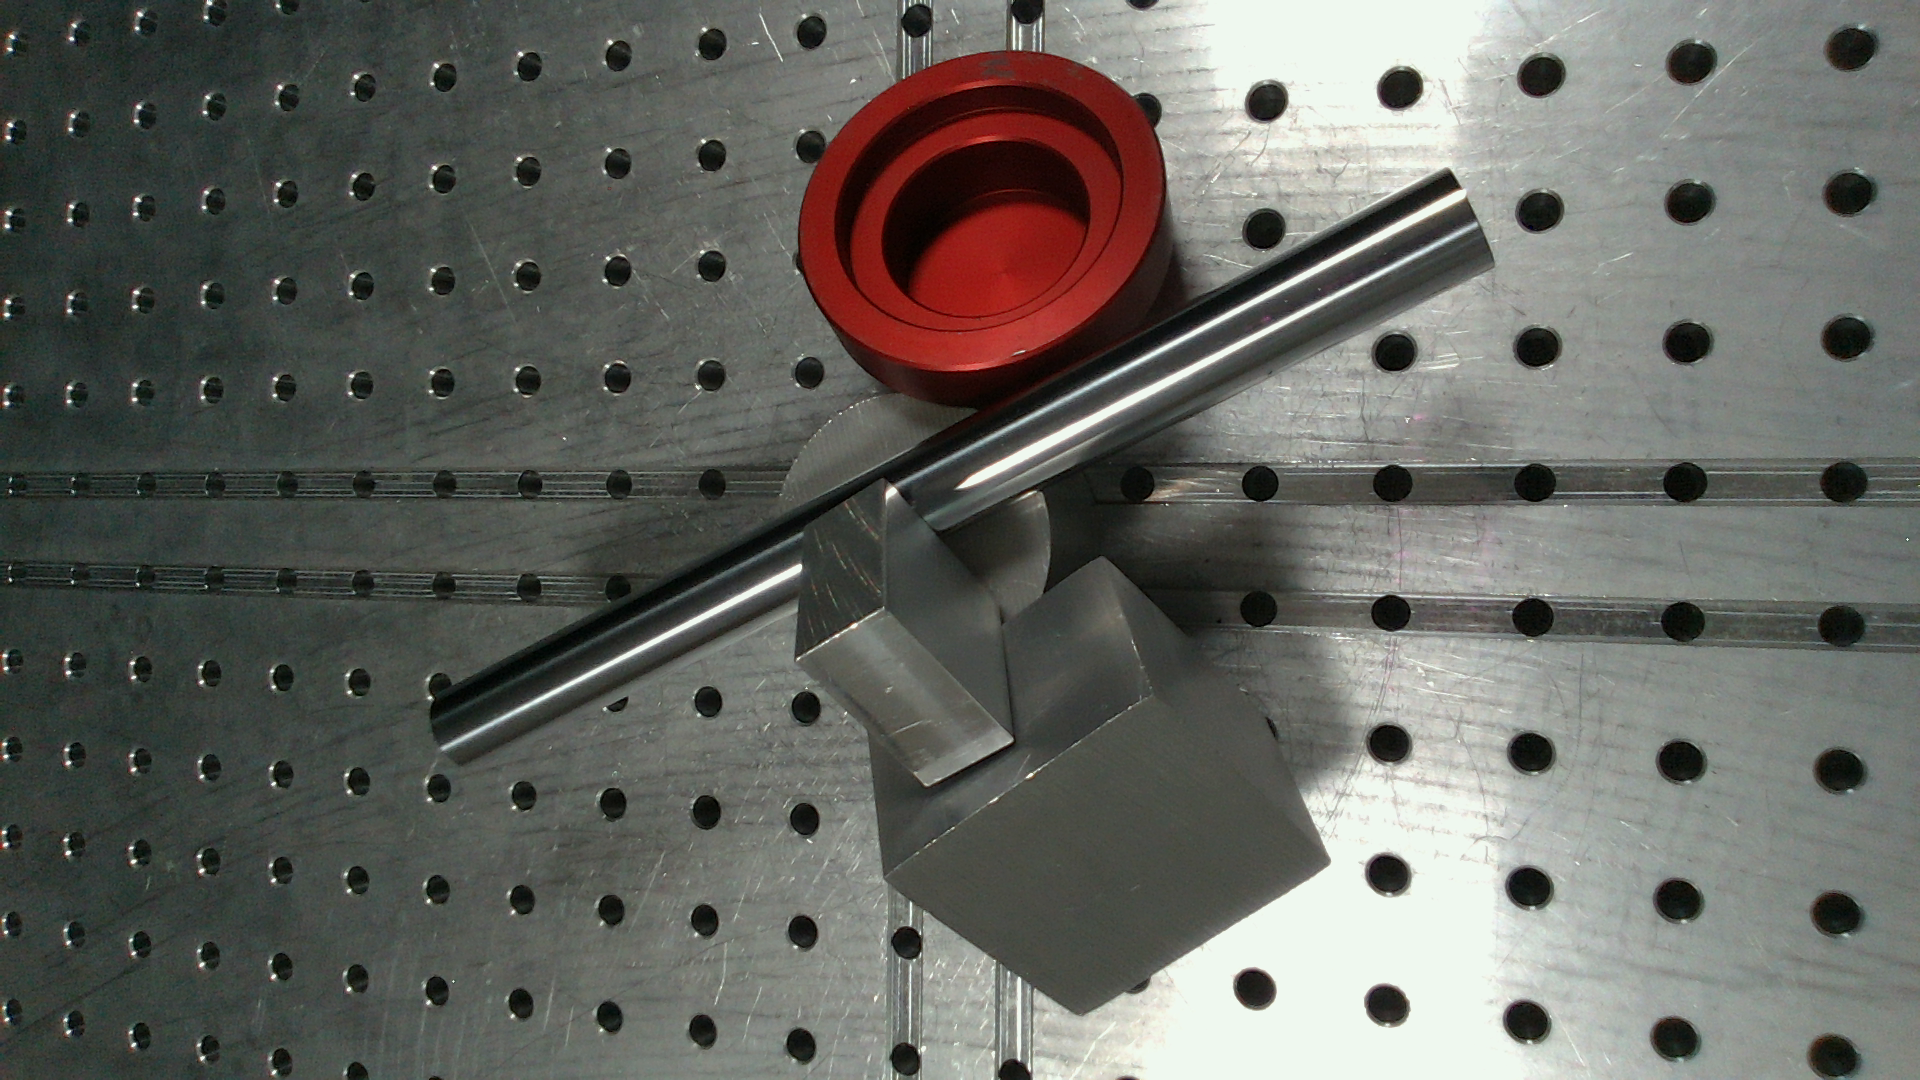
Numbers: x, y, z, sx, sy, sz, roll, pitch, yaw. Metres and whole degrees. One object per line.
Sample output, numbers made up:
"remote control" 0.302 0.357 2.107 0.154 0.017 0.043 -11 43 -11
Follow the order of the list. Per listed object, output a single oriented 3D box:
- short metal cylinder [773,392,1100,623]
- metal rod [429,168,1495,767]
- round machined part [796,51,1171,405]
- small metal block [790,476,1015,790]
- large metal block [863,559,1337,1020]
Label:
"short metal cylinder" -0.006 0.000 0.387 0.080 0.050 0.080 0 90 20
"metal rod" -0.015 -0.009 0.350 0.299 0.025 0.025 -26 81 18
"round machined part" 0.009 -0.080 0.374 0.098 0.042 0.098 -5 67 12
"small metal block" -0.013 0.022 0.325 0.025 0.050 0.050 -31 122 18
"large metal block" 0.034 0.065 0.349 0.080 0.050 0.080 -37 123 16
